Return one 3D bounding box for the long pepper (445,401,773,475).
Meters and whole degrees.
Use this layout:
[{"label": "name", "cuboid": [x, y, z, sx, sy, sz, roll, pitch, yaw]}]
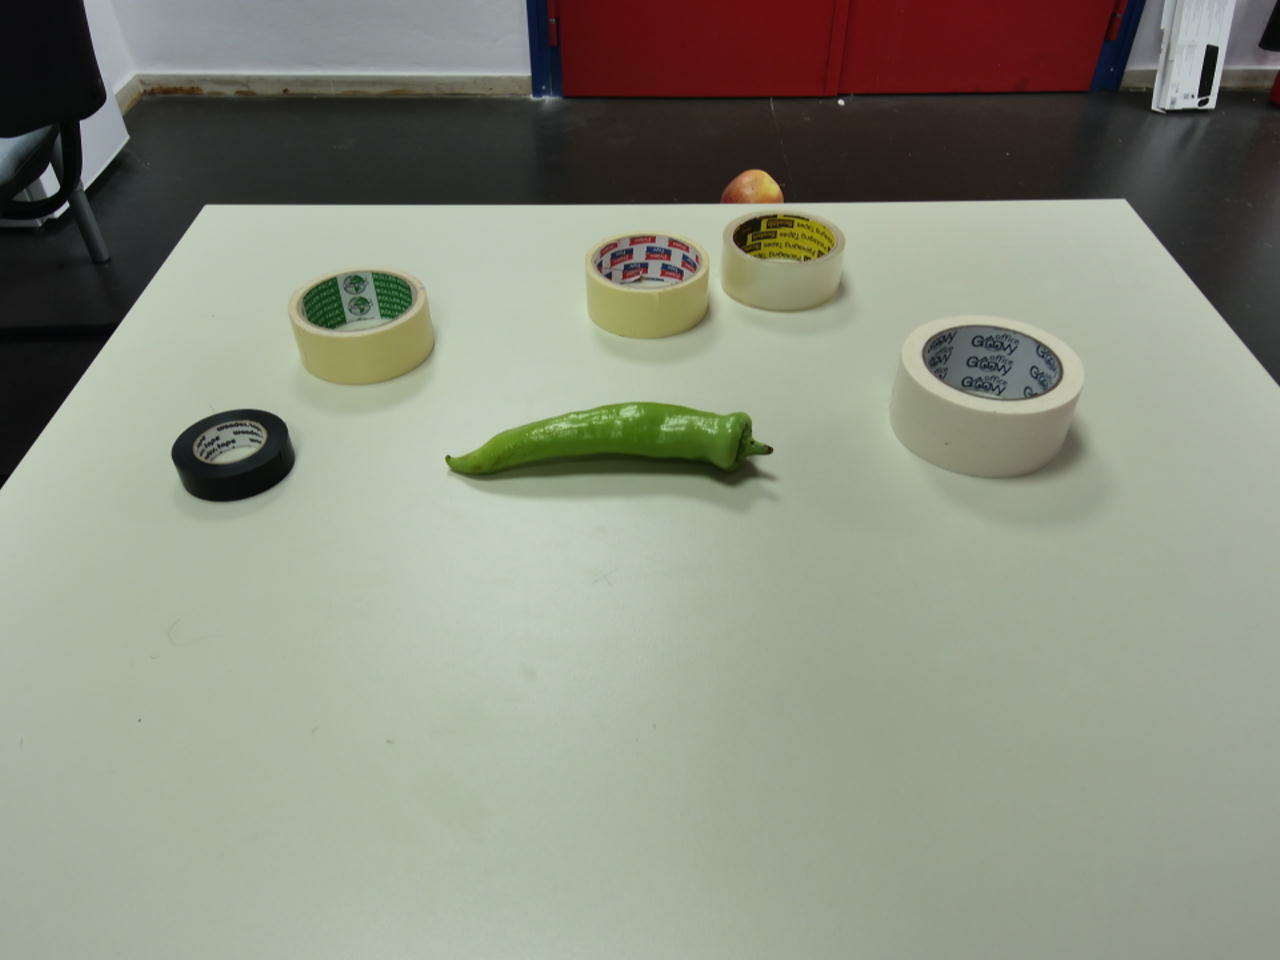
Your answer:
[{"label": "long pepper", "cuboid": [-0.019, -0.027, 0.603, 0.197, 0.038, 0.046, 1, 39, 2]}]
